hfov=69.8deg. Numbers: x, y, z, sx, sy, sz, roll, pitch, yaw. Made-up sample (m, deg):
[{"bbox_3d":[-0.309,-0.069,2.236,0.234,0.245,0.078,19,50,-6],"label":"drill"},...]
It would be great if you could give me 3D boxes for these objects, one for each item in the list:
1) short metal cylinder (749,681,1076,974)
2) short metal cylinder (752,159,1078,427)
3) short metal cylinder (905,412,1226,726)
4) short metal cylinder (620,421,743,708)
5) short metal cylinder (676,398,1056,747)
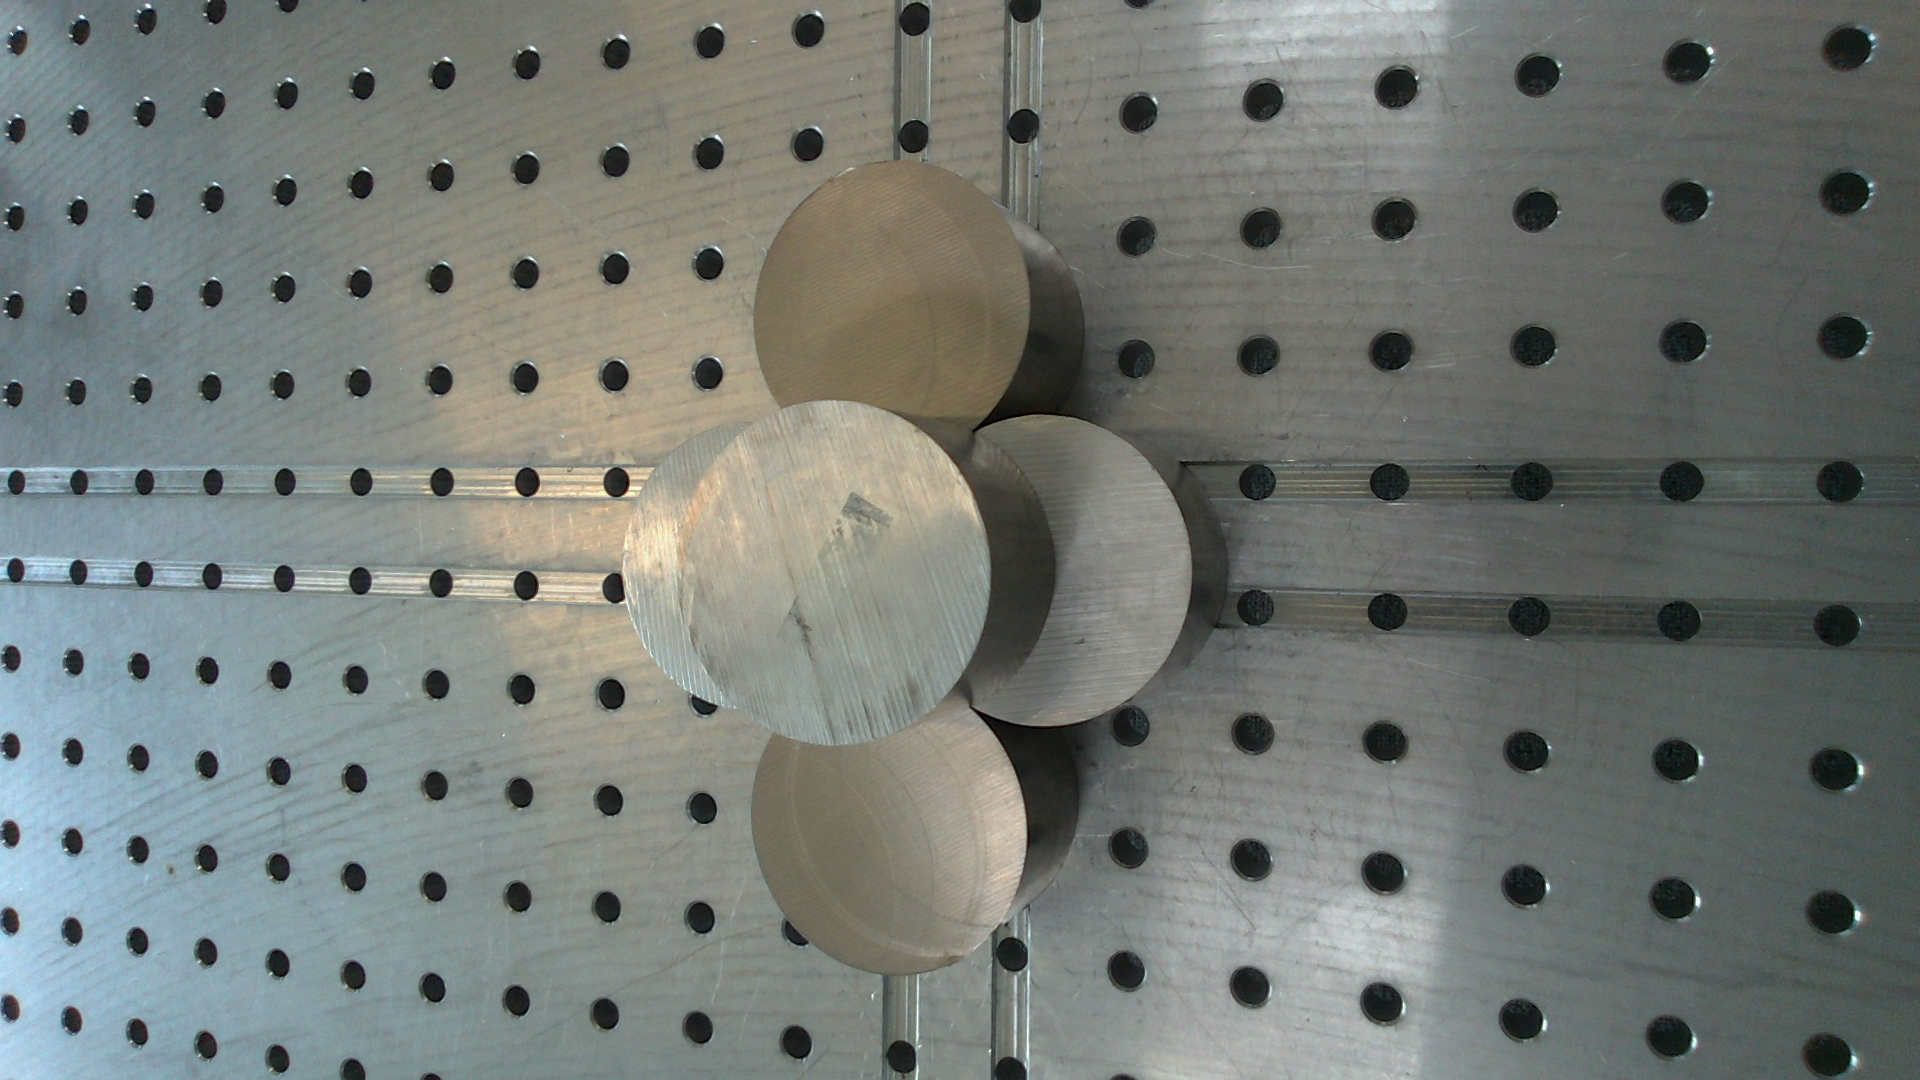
[{"bbox_3d":[-0.012,0.076,0.389,0.080,0.050,0.080,-1,88,20],"label":"short metal cylinder"},{"bbox_3d":[-0.011,-0.061,0.389,0.080,0.050,0.080,0,90,19],"label":"short metal cylinder"},{"bbox_3d":[0.028,0.007,0.374,0.080,0.050,0.080,0,90,20],"label":"short metal cylinder"},{"bbox_3d":[-0.051,0.007,0.404,0.080,0.050,0.080,0,90,20],"label":"short metal cylinder"},{"bbox_3d":[-0.022,0.007,0.339,0.080,0.050,0.080,0,90,20],"label":"short metal cylinder"}]
